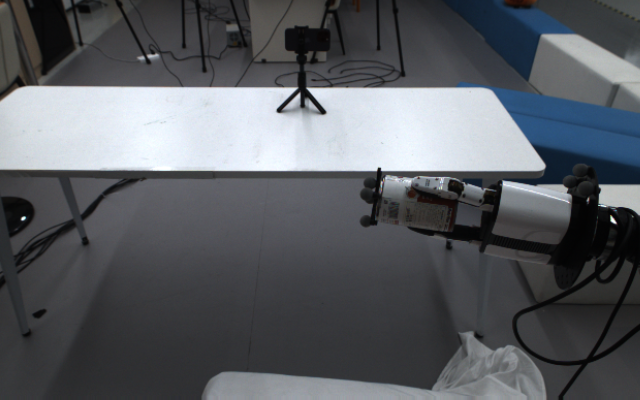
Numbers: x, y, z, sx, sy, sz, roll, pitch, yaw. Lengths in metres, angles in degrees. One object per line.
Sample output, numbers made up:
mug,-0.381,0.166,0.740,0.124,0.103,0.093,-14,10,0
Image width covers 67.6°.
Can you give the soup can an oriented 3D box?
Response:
soup can,0.134,0.003,0.658,0.101,0.067,0.067,8,35,9
